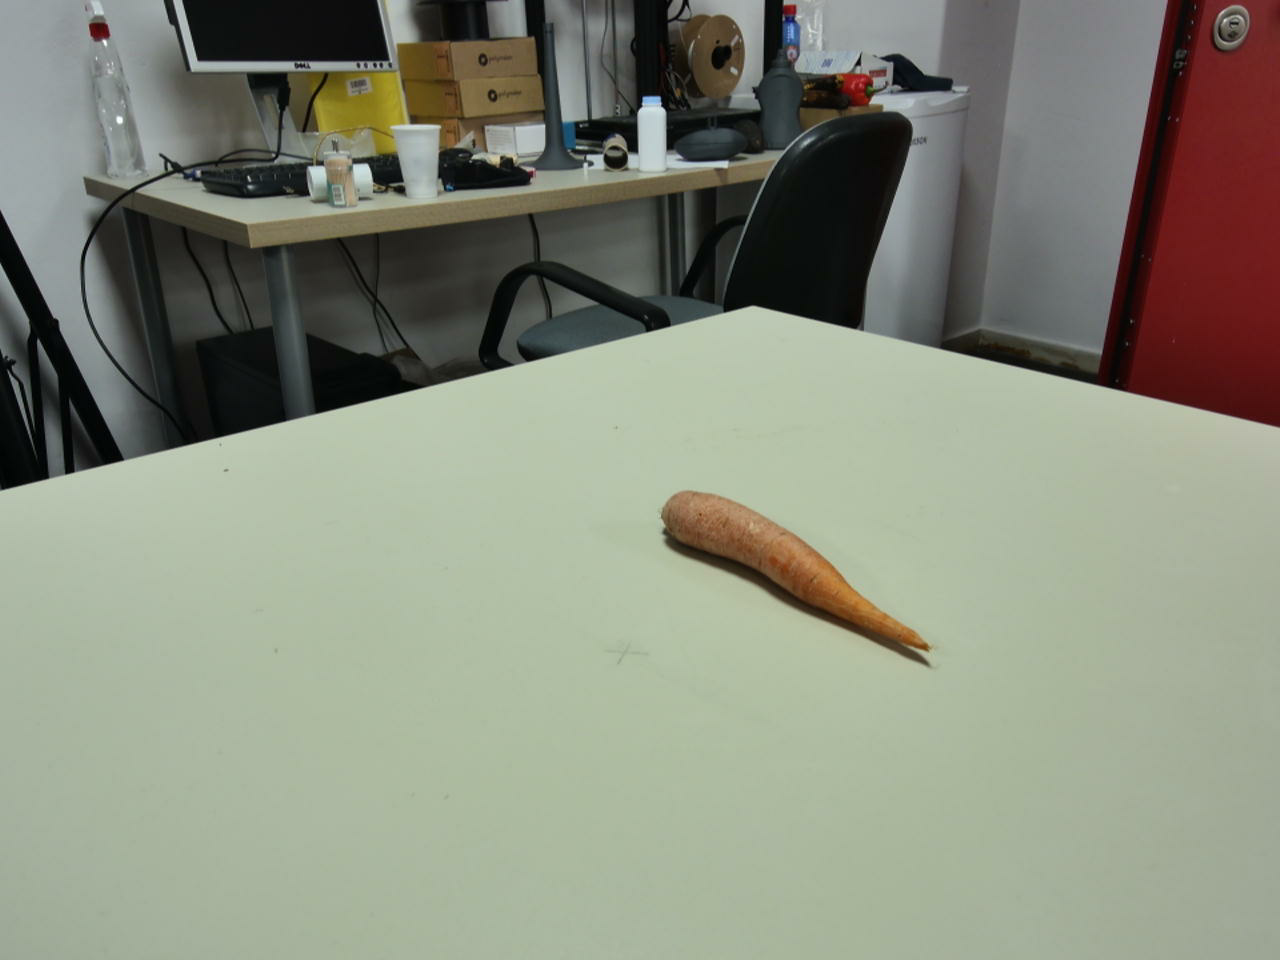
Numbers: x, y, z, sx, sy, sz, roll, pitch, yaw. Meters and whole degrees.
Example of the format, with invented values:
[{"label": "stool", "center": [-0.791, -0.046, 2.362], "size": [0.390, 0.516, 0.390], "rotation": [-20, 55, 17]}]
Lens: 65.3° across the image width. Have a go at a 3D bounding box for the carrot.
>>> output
[{"label": "carrot", "center": [0.067, 0.036, 0.455], "size": [0.031, 0.029, 0.163], "rotation": [-16, 28, -36]}]
